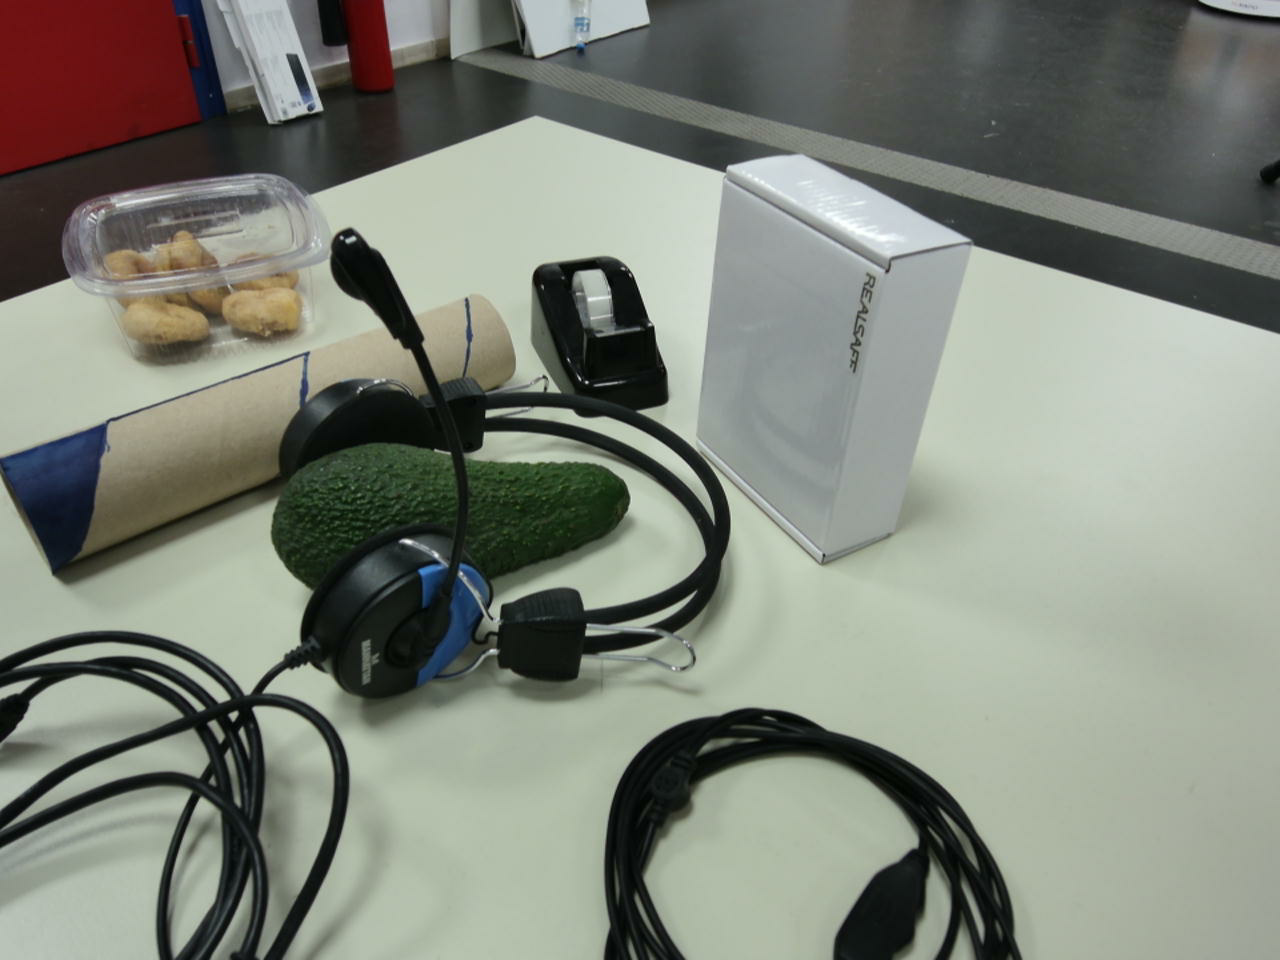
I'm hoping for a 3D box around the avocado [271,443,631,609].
[{"bbox_3d":[-0.071,0.006,0.392,0.141,0.067,0.063,-24,42,-30],"label":"avocado"}]
